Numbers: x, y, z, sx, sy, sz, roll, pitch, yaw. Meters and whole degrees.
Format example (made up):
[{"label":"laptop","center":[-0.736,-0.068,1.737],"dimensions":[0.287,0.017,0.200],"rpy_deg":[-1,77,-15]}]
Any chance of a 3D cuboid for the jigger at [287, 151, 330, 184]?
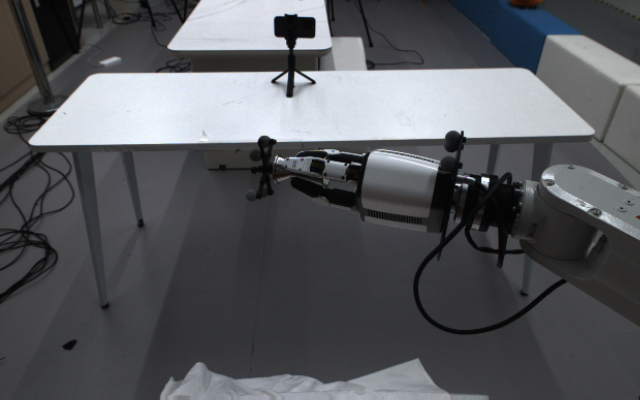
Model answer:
[{"label":"jigger","center":[-0.017,-0.042,0.634],"dimensions":[0.071,0.043,0.043],"rpy_deg":[5,34,14]}]
